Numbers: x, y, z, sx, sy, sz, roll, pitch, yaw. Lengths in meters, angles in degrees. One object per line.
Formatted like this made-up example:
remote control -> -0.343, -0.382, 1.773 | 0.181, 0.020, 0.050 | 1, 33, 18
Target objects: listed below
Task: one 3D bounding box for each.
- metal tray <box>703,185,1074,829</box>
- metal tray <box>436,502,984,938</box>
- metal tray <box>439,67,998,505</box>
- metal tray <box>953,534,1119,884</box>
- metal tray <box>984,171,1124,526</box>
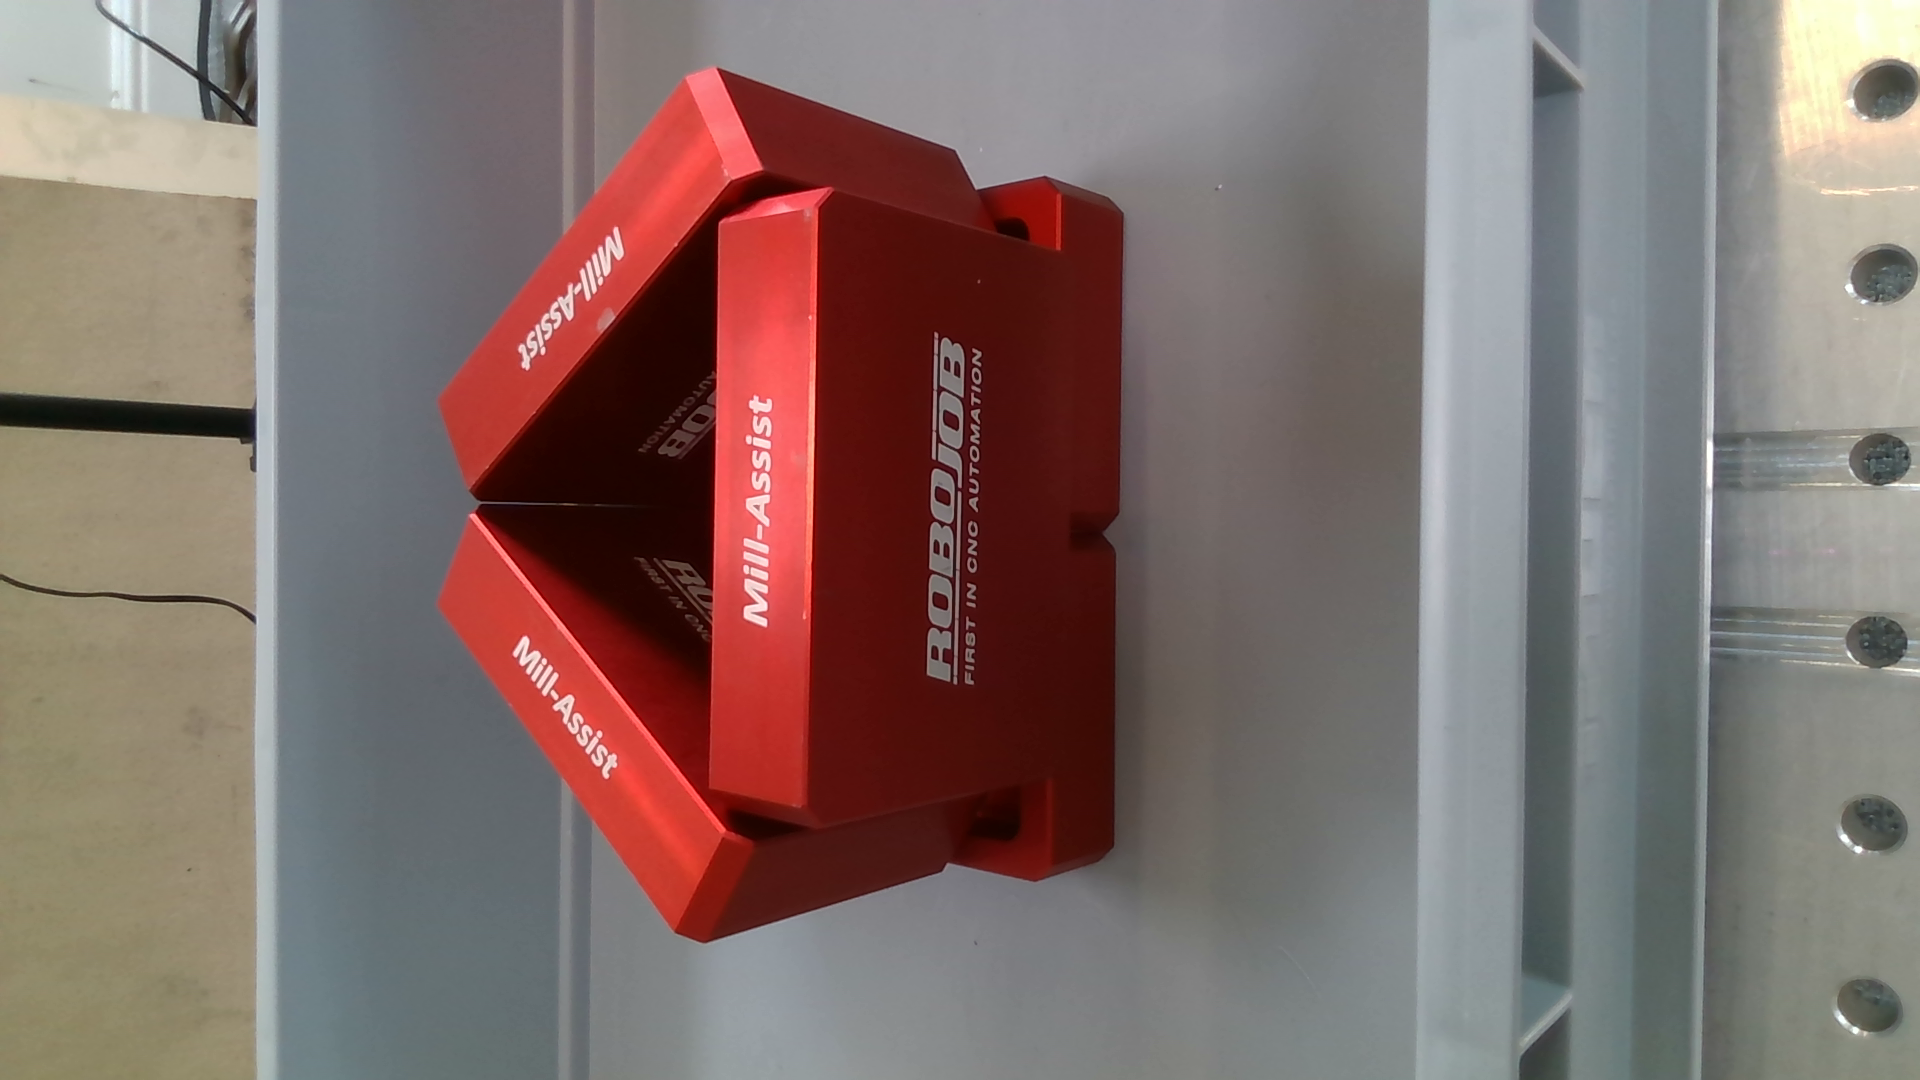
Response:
metal tray -> -0.013, -0.007, 0.317 | 0.030, 0.090, 0.130 | 3, 92, 40
metal tray -> -0.066, 0.039, 0.363 | 0.130, 0.090, 0.030 | 43, 116, 32
metal tray -> -0.064, -0.057, 0.361 | 0.130, 0.090, 0.030 | -38, 66, 34
metal tray -> -0.017, 0.042, 0.402 | 0.130, 0.030, 0.090 | 2, 91, 39
metal tray -> -0.015, -0.049, 0.400 | 0.130, 0.030, 0.090 | 1, 90, 39
